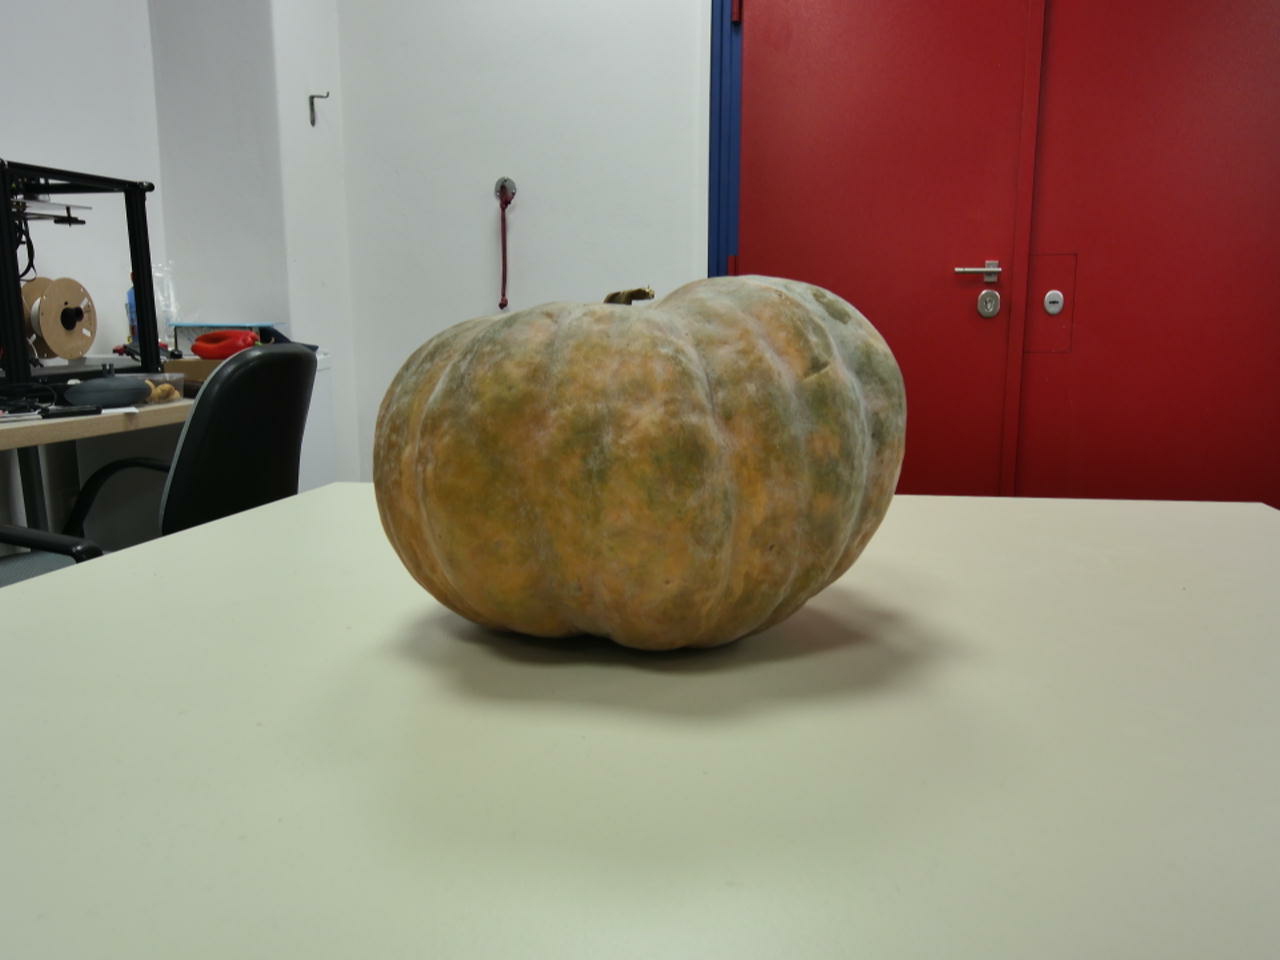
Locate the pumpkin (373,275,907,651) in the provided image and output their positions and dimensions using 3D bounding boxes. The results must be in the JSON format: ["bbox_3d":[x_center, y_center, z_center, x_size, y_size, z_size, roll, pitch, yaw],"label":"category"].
[{"bbox_3d":[-0.006,-0.012,0.489,0.252,0.168,0.252,0,6,0],"label":"pumpkin"}]
